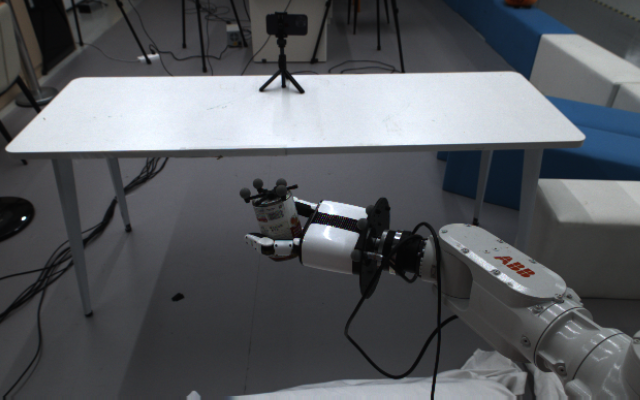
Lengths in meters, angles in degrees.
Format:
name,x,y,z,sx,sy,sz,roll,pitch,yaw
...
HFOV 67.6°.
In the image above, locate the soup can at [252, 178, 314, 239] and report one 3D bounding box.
name,x,y,z,sx,sy,sz,roll,pitch,yaw
soup can,-0.065,0.040,0.789,0.067,0.101,0.067,-13,20,5
